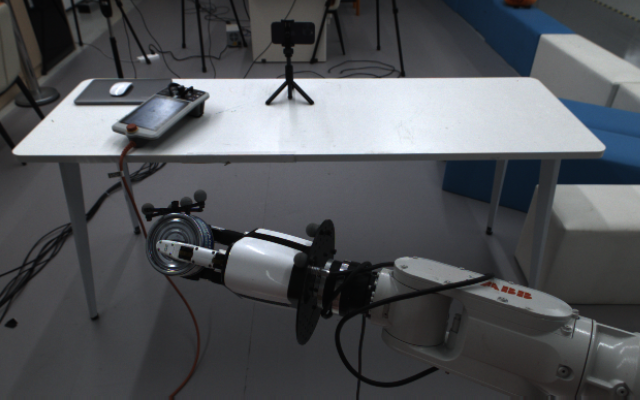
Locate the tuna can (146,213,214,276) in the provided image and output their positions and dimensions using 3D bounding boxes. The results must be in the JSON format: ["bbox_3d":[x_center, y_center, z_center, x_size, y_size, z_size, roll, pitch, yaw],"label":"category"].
[{"bbox_3d":[-0.185,0.066,0.646,0.085,0.085,0.034,12,-6,15],"label":"tuna can"}]
